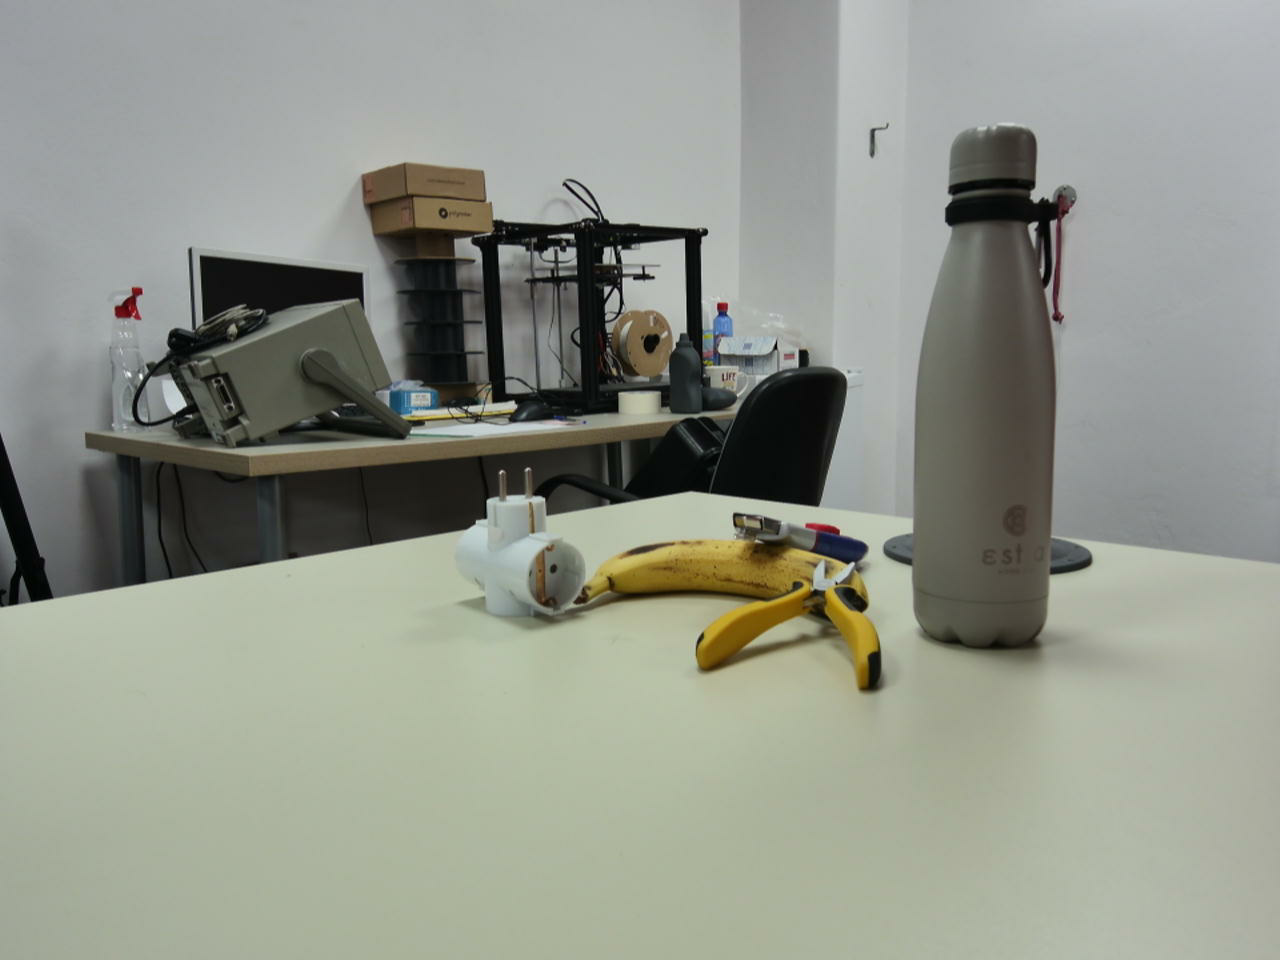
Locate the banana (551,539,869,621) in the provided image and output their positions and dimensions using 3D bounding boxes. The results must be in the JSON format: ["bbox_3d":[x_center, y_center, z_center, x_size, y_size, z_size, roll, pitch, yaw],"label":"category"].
[{"bbox_3d":[0.054,0.062,0.638,0.186,0.038,0.097,3,7,19],"label":"banana"}]
